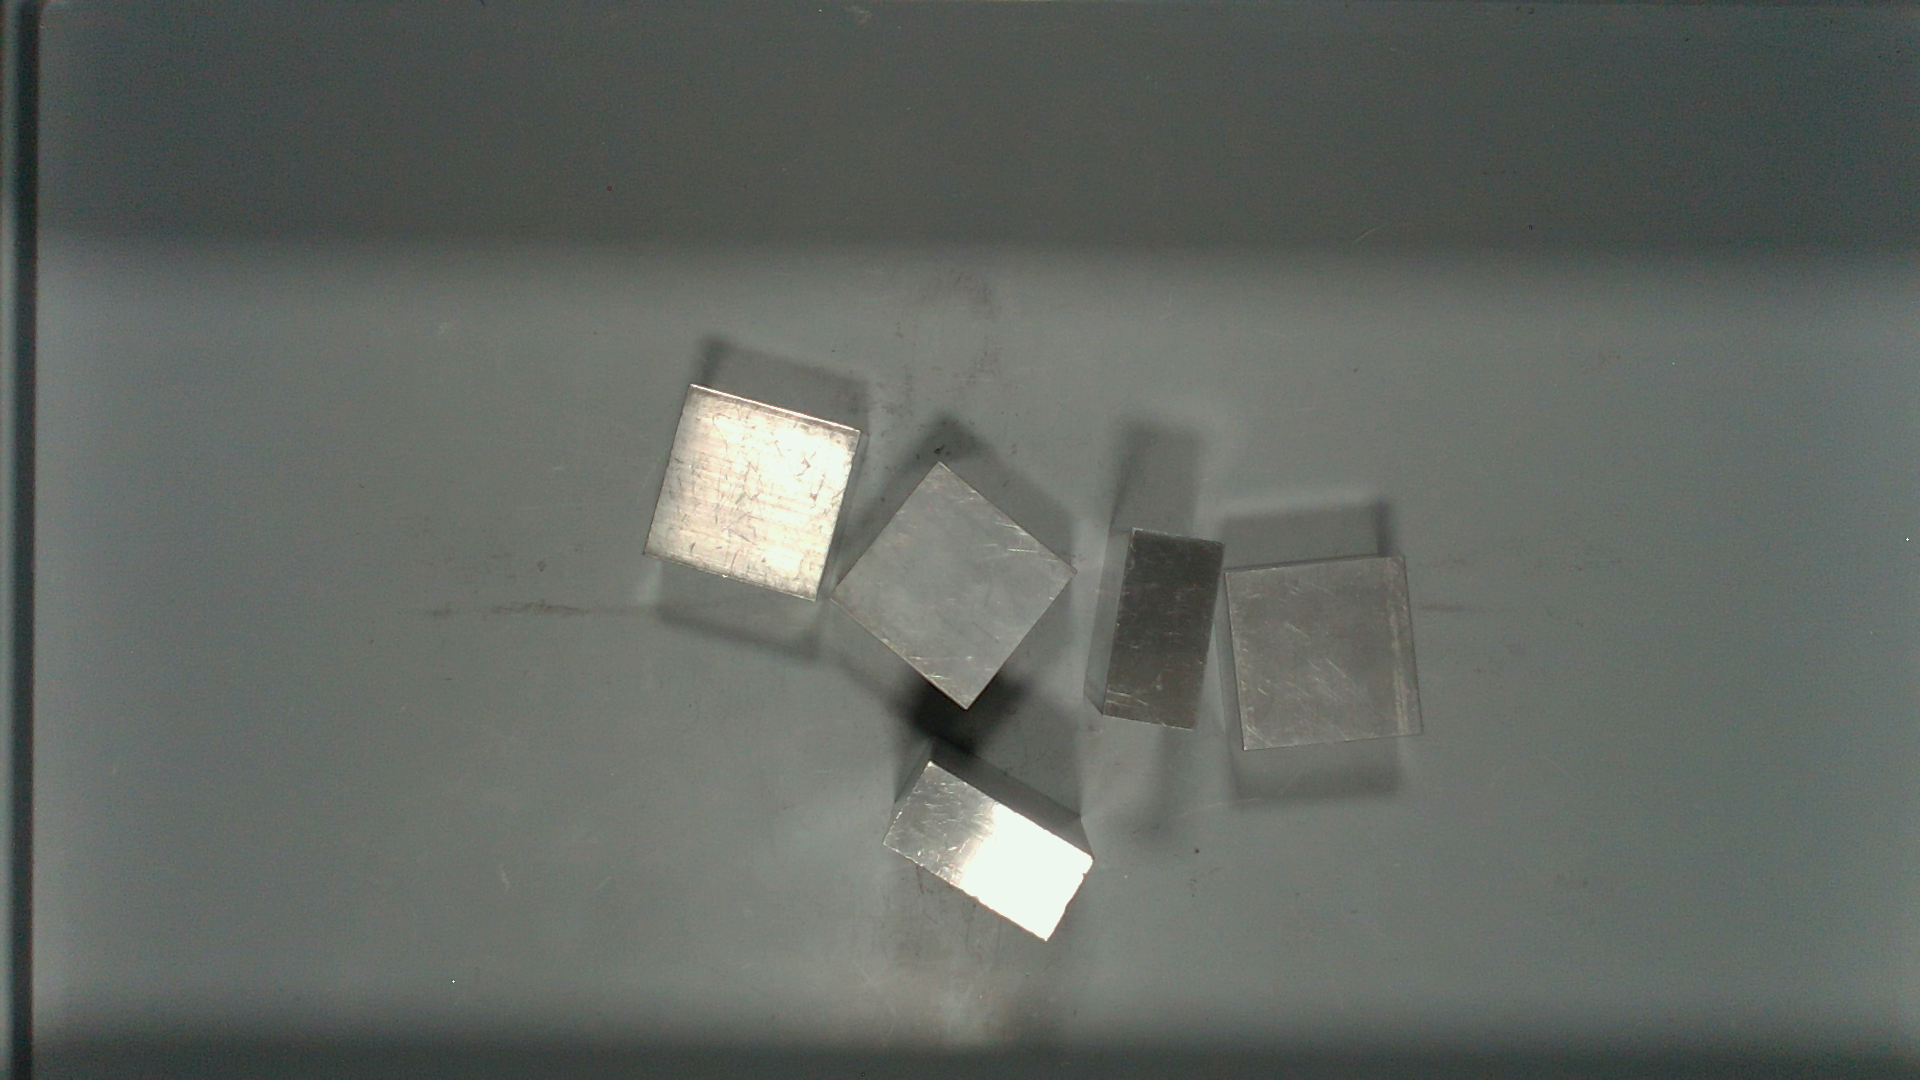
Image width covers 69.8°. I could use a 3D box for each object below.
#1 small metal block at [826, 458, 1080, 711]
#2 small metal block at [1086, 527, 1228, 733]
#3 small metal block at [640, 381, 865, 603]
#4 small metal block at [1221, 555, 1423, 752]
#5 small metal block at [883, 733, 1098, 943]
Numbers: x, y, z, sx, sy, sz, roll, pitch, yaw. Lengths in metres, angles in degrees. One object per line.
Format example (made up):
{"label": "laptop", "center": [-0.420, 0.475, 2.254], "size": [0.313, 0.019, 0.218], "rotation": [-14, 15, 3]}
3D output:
{"label": "small metal block", "center": [-0.002, 0.012, 0.393], "size": [0.050, 0.025, 0.050], "rotation": [39, 90, 0]}
{"label": "small metal block", "center": [0.053, 0.023, 0.382], "size": [0.025, 0.050, 0.050], "rotation": [9, 90, 0]}
{"label": "small metal block", "center": [-0.058, -0.013, 0.393], "size": [0.050, 0.025, 0.050], "rotation": [15, 90, 0]}
{"label": "small metal block", "center": [0.101, 0.031, 0.394], "size": [0.050, 0.025, 0.050], "rotation": [-6, 90, 0]}
{"label": "small metal block", "center": [0.008, 0.081, 0.381], "size": [0.050, 0.050, 0.025], "rotation": [30, 91, -1]}
